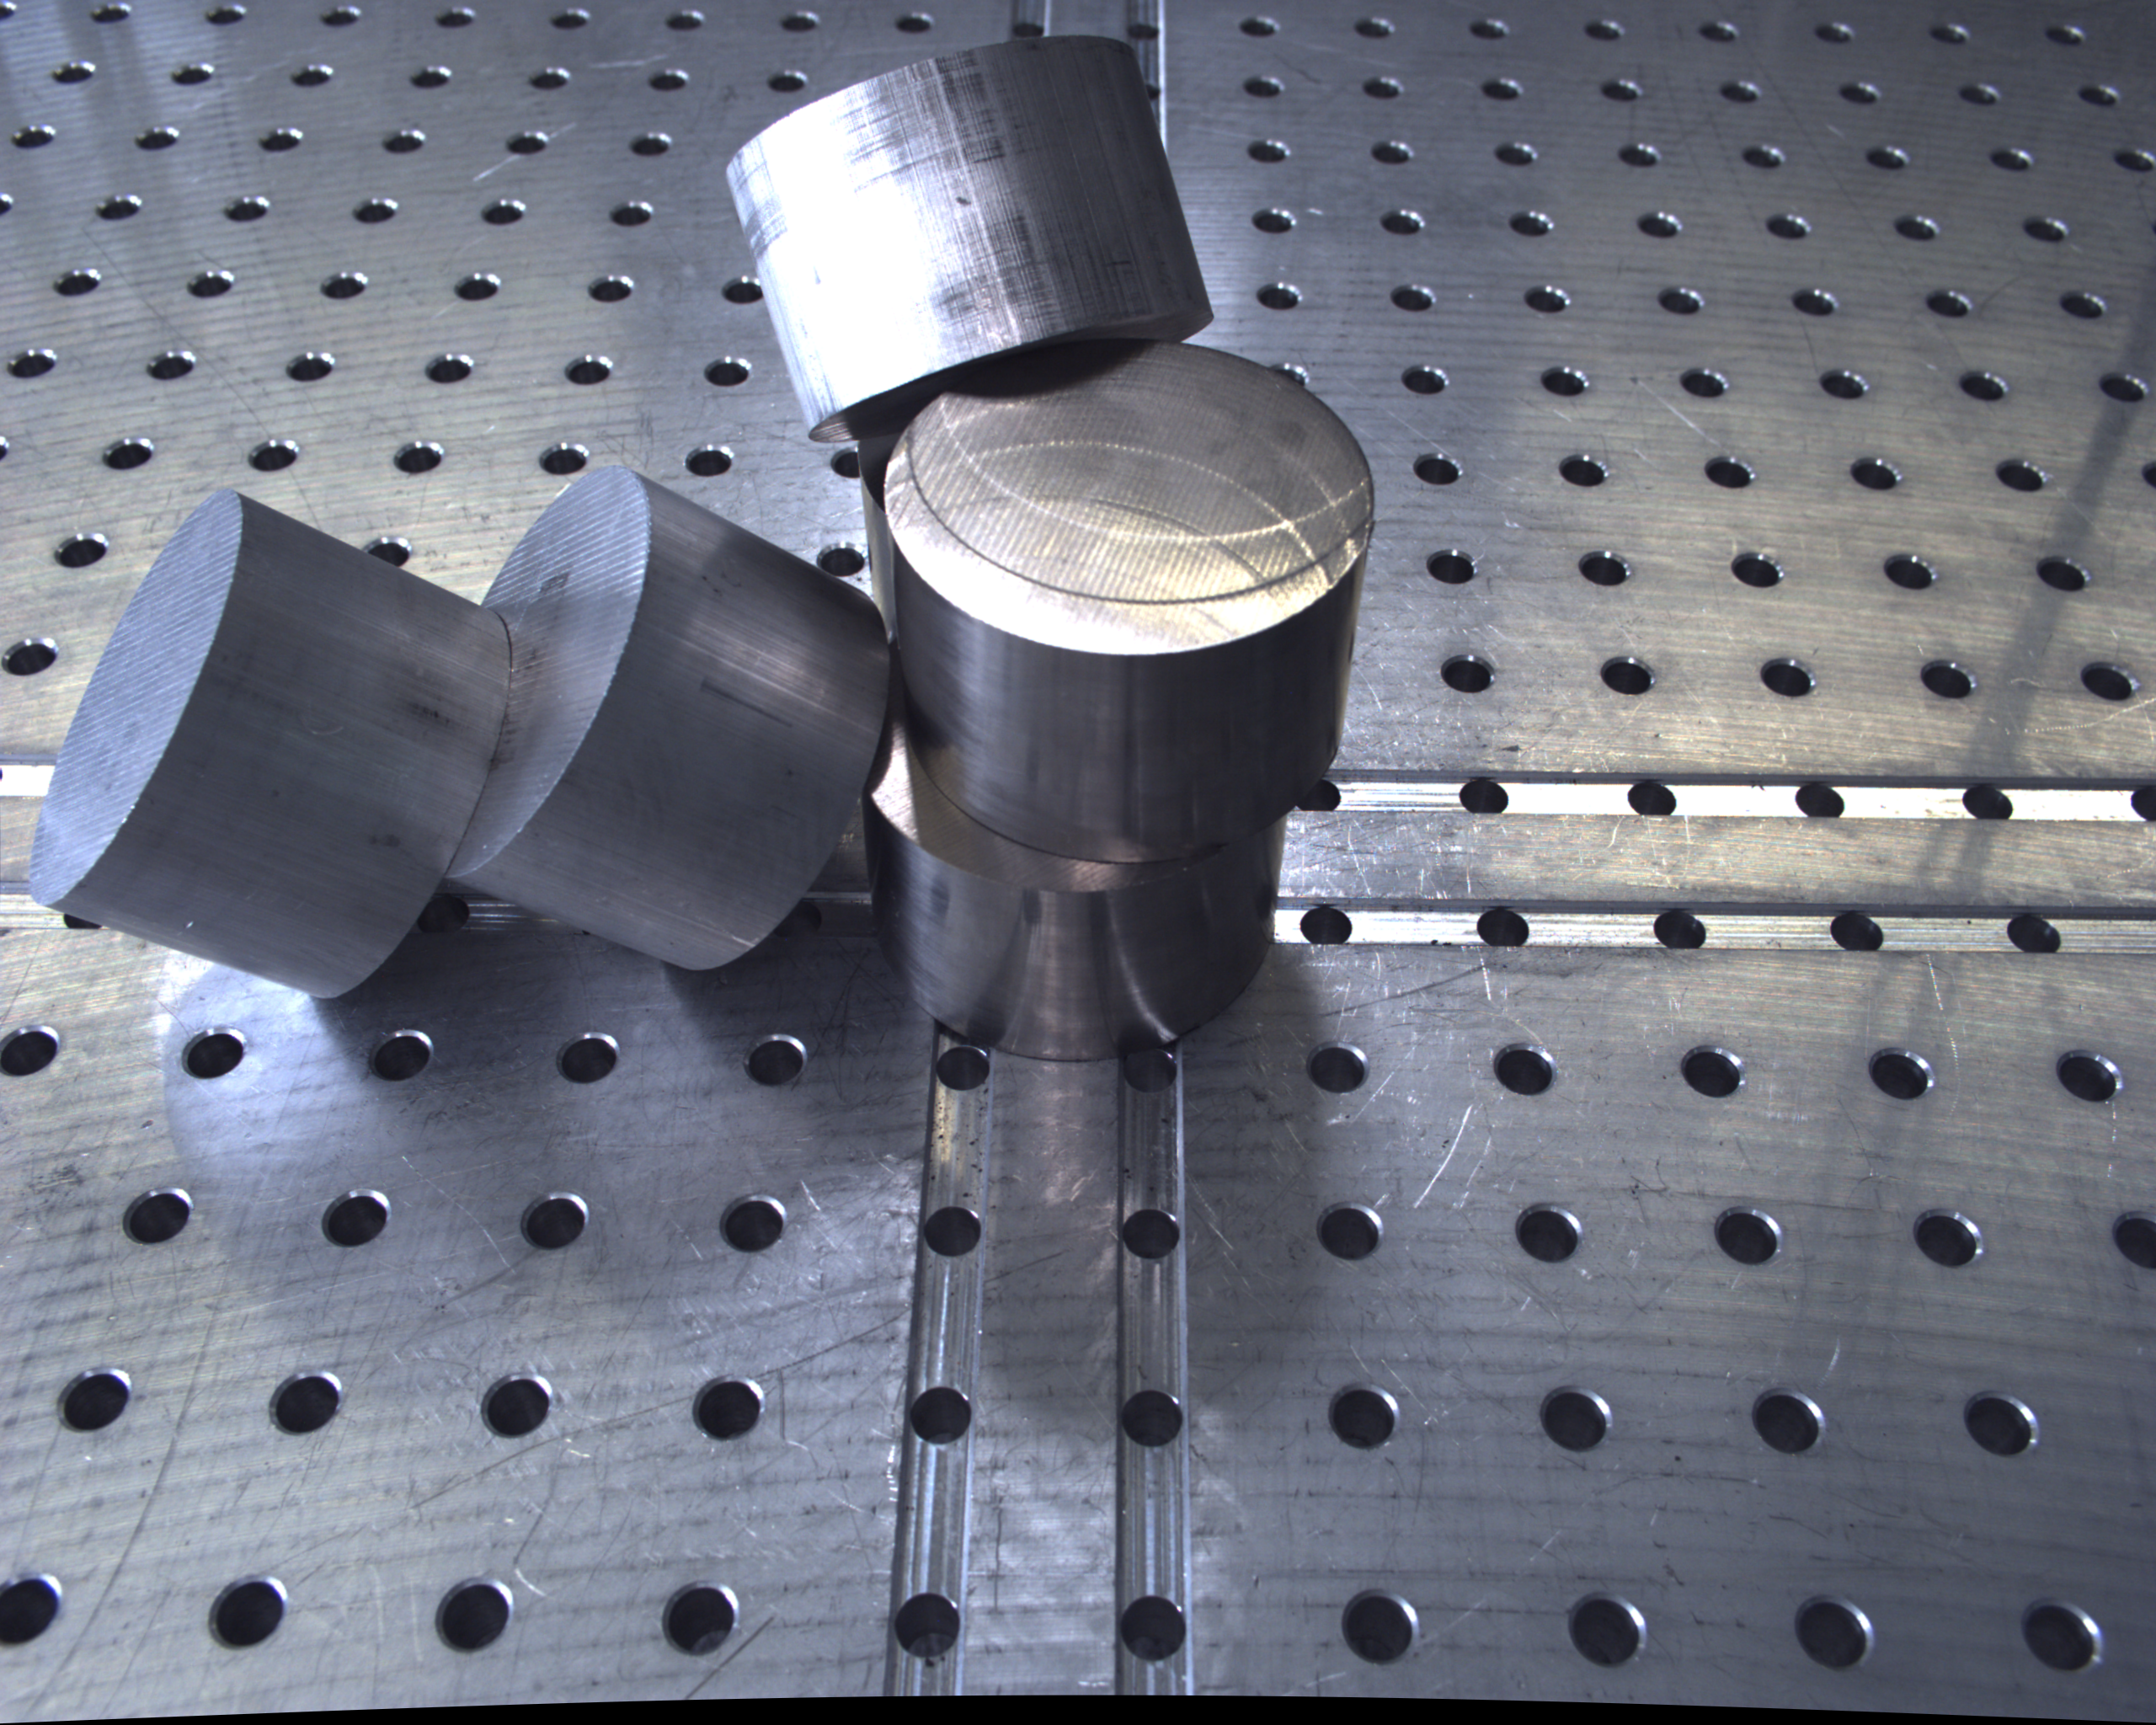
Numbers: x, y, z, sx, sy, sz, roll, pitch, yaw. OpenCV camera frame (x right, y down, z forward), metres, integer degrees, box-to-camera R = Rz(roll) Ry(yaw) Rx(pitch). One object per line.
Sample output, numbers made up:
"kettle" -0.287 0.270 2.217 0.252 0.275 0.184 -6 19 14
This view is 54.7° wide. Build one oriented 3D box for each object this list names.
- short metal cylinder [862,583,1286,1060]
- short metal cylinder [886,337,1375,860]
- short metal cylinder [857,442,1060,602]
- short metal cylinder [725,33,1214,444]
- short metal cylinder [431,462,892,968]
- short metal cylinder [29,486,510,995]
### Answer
"short metal cylinder" -0.001 -0.009 0.398 0.081 0.050 0.080 0 50 0
"short metal cylinder" 0.009 -0.047 0.363 0.081 0.050 0.080 0 50 0
"short metal cylinder" -0.005 -0.071 0.450 0.081 0.050 0.080 0 50 0
"short metal cylinder" -0.020 -0.116 0.395 0.081 0.080 0.050 -19 96 -15
"short metal cylinder" -0.079 -0.026 0.384 0.050 0.080 0.080 26 39 -35
"short metal cylinder" -0.147 -0.021 0.380 0.050 0.080 0.080 26 39 -35
